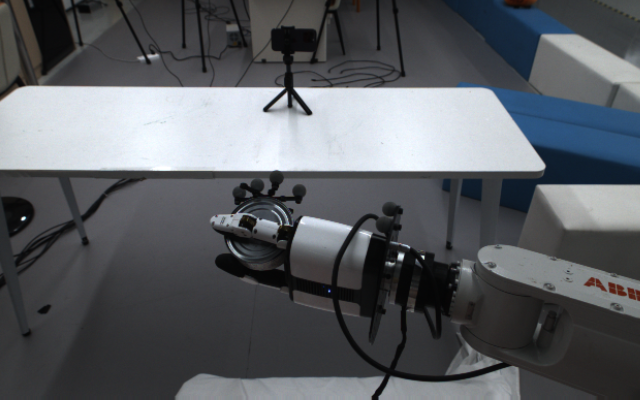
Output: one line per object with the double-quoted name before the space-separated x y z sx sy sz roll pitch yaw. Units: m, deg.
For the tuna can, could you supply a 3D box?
"tuna can" -0.069 0.042 0.586 0.085 0.034 0.085 -6 60 10
